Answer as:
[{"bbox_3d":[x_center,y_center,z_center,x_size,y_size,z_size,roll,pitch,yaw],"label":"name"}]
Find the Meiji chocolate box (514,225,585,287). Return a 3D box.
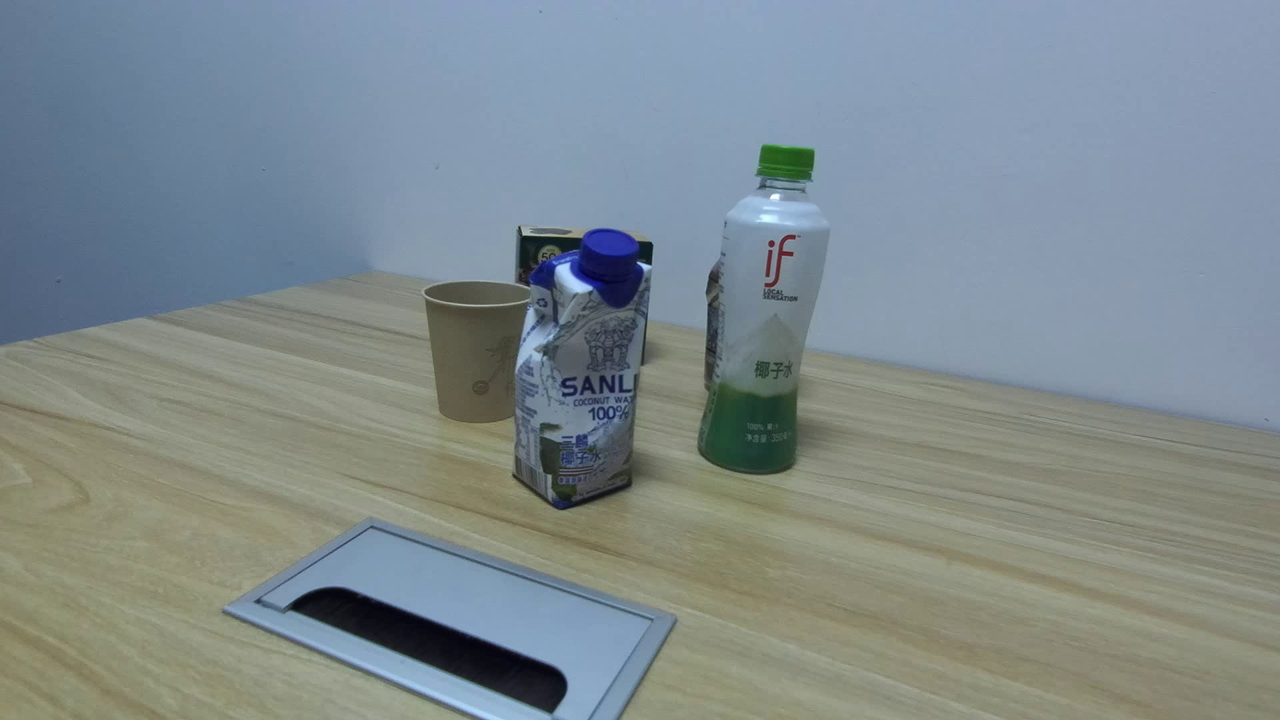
[{"bbox_3d":[-0.055,-0.088,0.636,0.110,0.109,0.056,1,-76,-13],"label":"Meiji chocolate box"}]

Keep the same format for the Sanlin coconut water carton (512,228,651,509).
[{"bbox_3d":[-0.034,0.001,0.377,0.061,0.069,0.143,-11,-65,-39],"label":"Sanlin coconut water carton"}]

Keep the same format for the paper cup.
[{"bbox_3d":[-0.107,-0.005,0.481,0.075,0.075,0.082,1,-74,-13],"label":"paper cup"}]

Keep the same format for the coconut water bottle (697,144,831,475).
[{"bbox_3d":[0.076,-0.029,0.424,0.063,0.063,0.188,2,-74,-13],"label":"coconut water bottle"}]
